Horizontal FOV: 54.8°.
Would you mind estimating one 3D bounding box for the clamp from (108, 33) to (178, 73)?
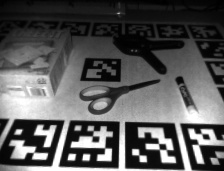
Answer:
[{"bbox_3d":[0.075,-0.116,0.645,0.200,0.037,0.166,24,46,22],"label":"clamp"}]

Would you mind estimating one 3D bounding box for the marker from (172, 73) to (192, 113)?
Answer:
[{"bbox_3d":[0.159,0.011,0.499,0.019,0.020,0.120,-1,42,-1],"label":"marker"}]

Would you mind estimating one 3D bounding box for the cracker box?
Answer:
[{"bbox_3d":[-0.212,-0.073,0.548,0.164,0.072,0.213,3,43,2],"label":"cracker box"}]

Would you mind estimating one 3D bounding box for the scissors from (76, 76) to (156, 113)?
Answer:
[{"bbox_3d":[0.017,0.006,0.505,0.204,0.016,0.086,-17,44,-22],"label":"scissors"}]
